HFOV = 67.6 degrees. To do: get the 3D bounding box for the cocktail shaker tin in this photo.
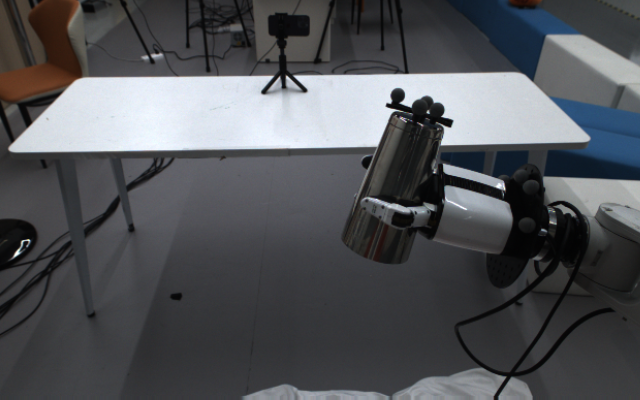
[{"bbox_3d":[0.095,-0.018,0.602,0.093,0.170,0.093,15,20,-5],"label":"cocktail shaker tin"}]
